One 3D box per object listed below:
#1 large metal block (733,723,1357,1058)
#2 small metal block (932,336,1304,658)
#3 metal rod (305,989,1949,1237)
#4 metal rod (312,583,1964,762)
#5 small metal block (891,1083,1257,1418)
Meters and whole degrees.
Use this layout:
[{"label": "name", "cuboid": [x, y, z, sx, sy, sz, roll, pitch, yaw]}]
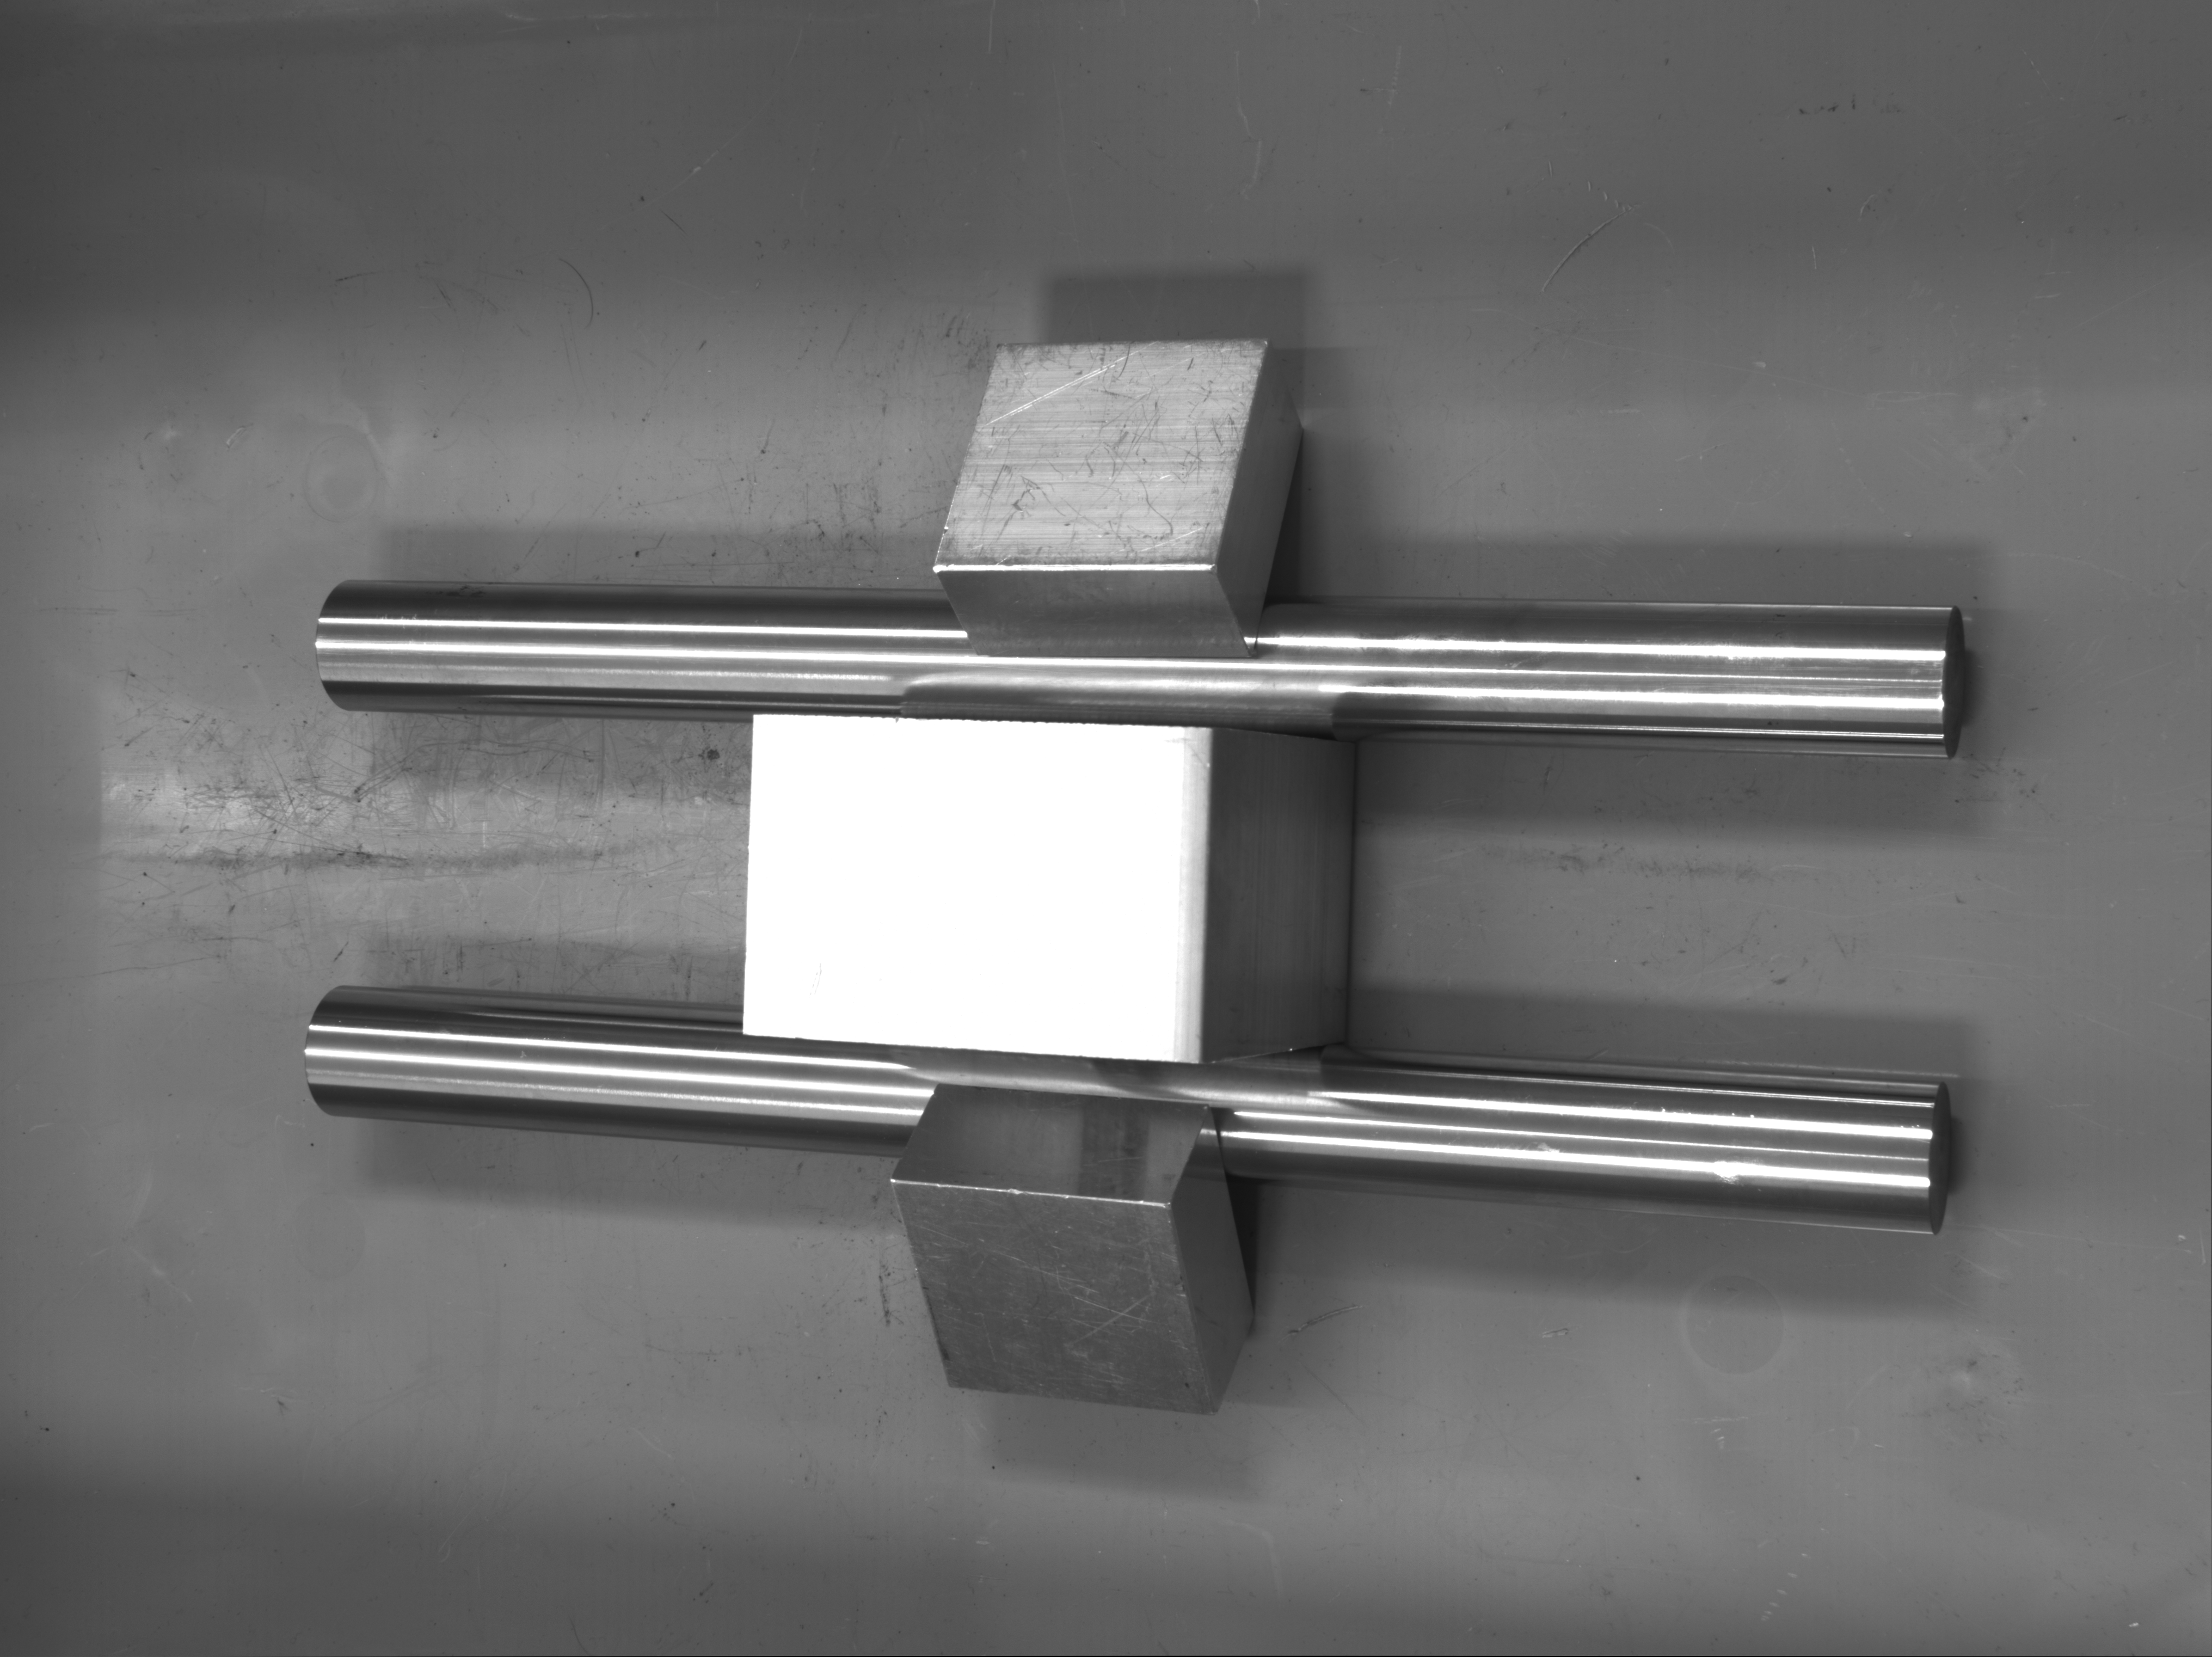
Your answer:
[{"label": "large metal block", "cuboid": [-0.008, 0.009, 0.618, 0.080, 0.080, 0.050, 2, 91, 20]}, {"label": "small metal block", "cuboid": [0.003, -0.057, 0.632, 0.050, 0.025, 0.050, 1, 56, 20]}, {"label": "metal rod", "cuboid": [-0.005, 0.048, 0.648, 0.299, 0.025, 0.025, 2, 91, 20]}, {"label": "metal rod", "cuboid": [-0.003, -0.029, 0.646, 0.299, 0.025, 0.025, 2, 91, 20]}, {"label": "small metal block", "cuboid": [-0.005, 0.073, 0.634, 0.050, 0.025, 0.050, 3, 128, 20]}]
